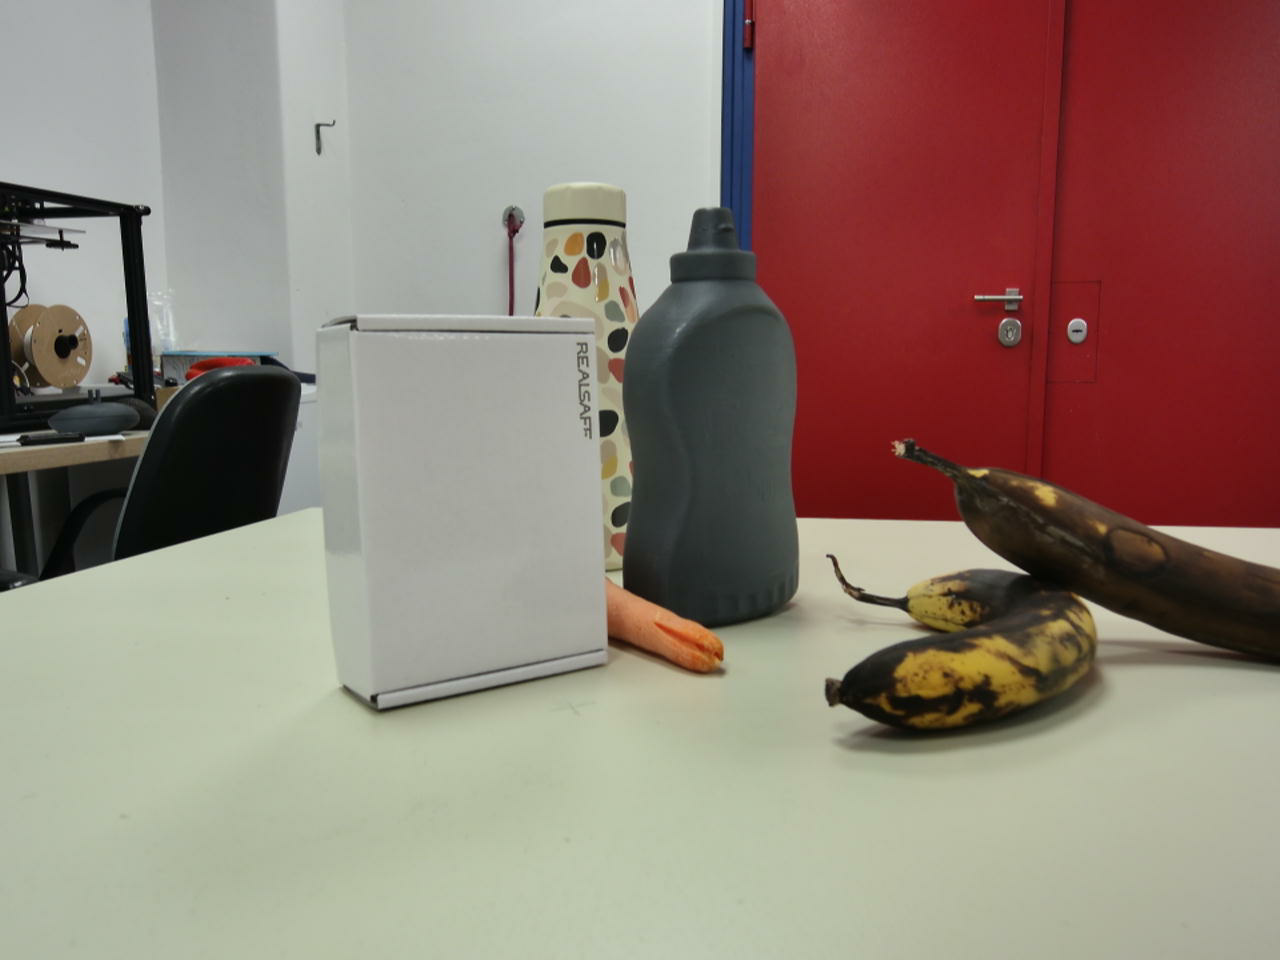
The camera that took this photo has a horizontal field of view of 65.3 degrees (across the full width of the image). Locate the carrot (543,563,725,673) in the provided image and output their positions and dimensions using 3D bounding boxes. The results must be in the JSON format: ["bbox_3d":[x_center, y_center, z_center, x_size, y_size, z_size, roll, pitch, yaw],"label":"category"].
[{"bbox_3d":[-0.007,0.061,0.468,0.030,0.032,0.136,-2,5,-33],"label":"carrot"}]
